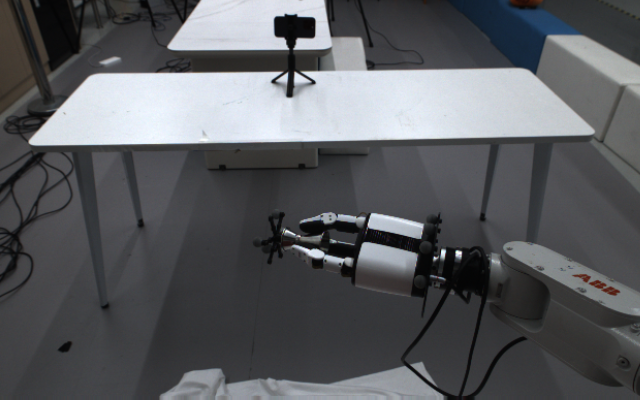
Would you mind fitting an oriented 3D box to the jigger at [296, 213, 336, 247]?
[{"bbox_3d":[-0.016,0.059,0.763,0.071,0.043,0.043,5,34,20],"label":"jigger"}]
